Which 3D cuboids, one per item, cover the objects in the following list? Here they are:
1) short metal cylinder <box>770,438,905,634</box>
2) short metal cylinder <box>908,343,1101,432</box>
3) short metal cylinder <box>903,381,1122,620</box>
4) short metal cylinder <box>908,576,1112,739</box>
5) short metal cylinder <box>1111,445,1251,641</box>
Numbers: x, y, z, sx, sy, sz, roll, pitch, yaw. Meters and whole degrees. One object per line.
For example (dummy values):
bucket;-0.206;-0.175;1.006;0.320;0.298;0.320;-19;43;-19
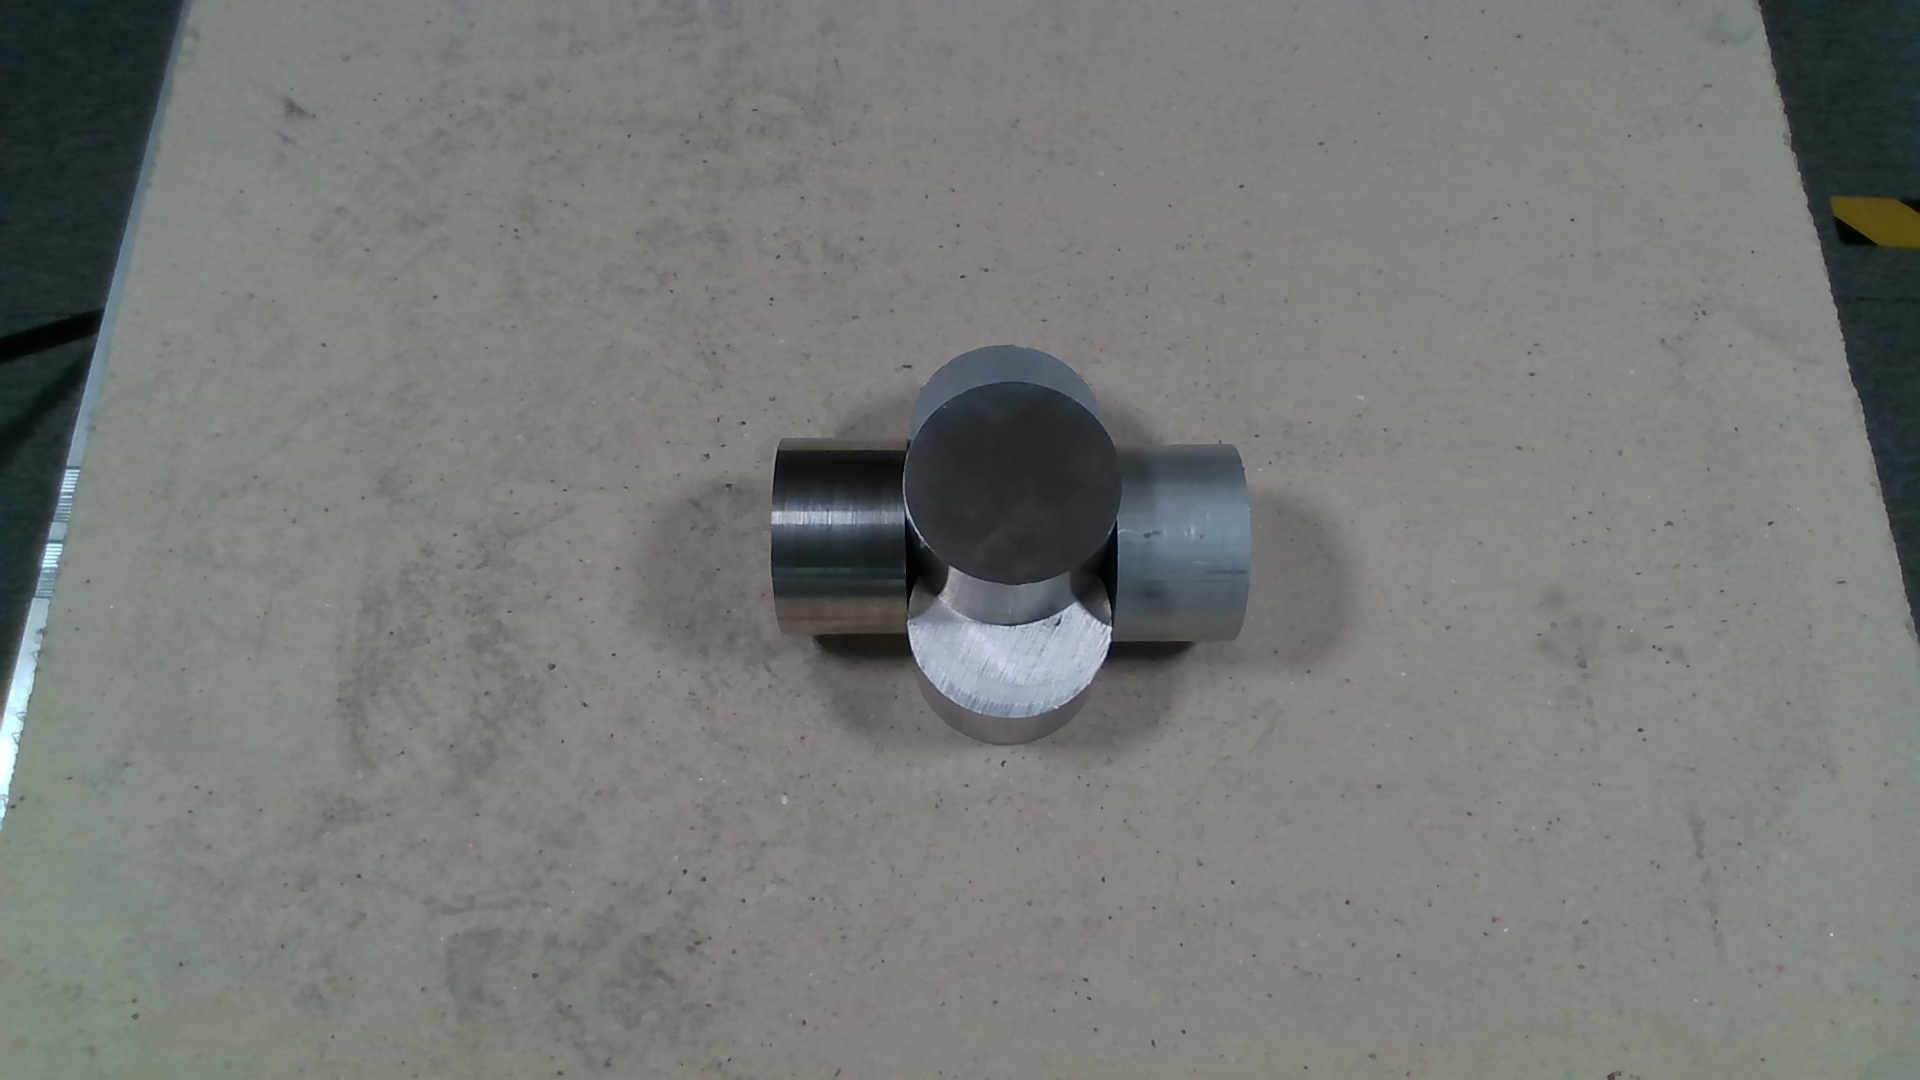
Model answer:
short metal cylinder;-0.047;-0.002;0.560;0.050;0.080;0.080;0;70;0
short metal cylinder;0.019;-0.036;0.588;0.080;0.050;0.080;0;70;0
short metal cylinder;0.019;-0.013;0.526;0.080;0.050;0.080;0;70;0
short metal cylinder;0.020;0.038;0.561;0.080;0.050;0.080;0;70;0
short metal cylinder;0.085;0.001;0.559;0.050;0.080;0.080;0;70;0
